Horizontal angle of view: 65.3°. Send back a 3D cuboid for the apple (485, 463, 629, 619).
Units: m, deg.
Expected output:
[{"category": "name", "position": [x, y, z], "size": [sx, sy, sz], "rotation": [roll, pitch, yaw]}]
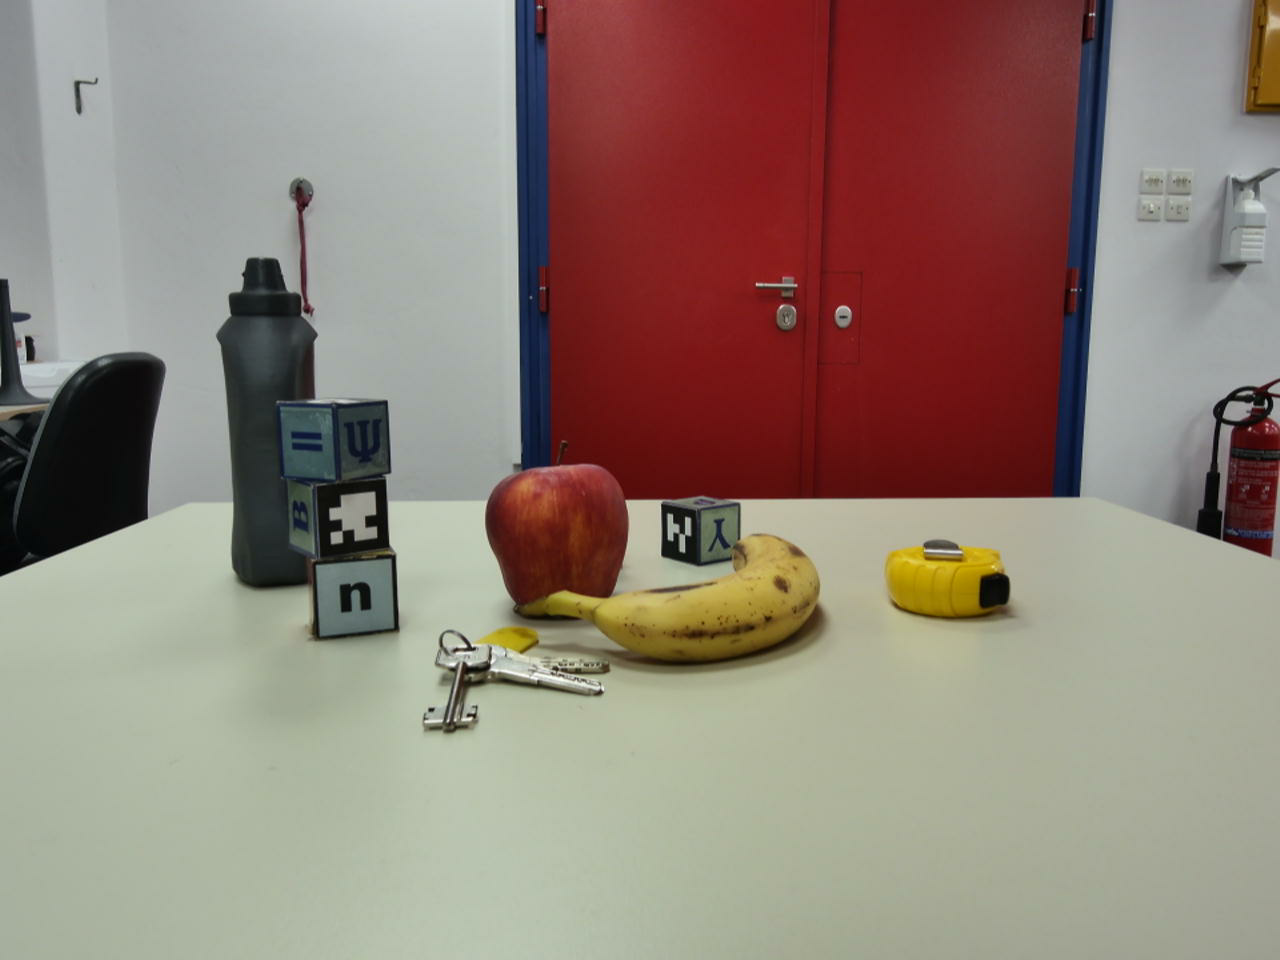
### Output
[{"category": "apple", "position": [-0.045, 0.026, 0.531], "size": [0.083, 0.090, 0.083], "rotation": [0, 6, 0]}]
